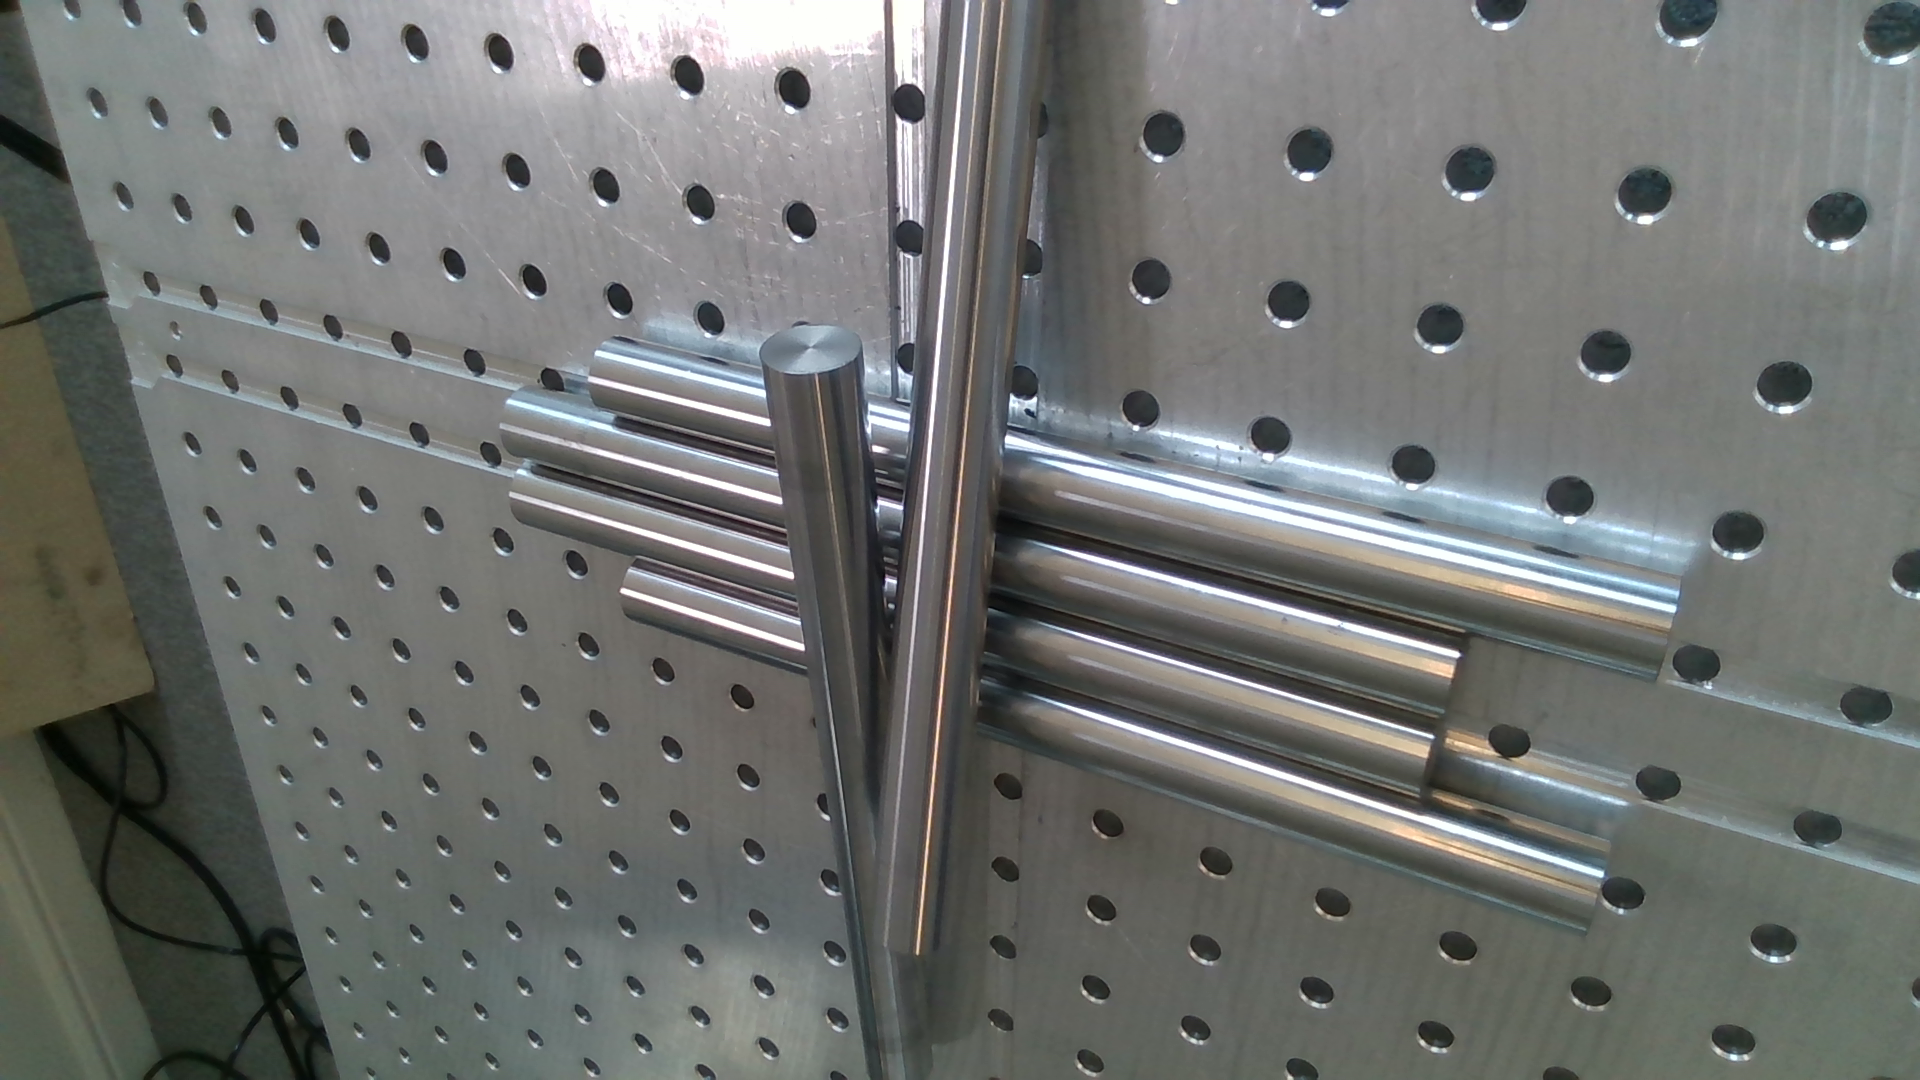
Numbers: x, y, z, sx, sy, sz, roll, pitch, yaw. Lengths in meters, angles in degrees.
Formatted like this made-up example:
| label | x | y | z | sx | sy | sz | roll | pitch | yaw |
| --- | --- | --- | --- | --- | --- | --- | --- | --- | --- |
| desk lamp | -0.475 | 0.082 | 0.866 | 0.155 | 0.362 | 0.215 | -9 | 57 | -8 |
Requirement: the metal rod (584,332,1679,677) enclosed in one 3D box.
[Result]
| label | x | y | z | sx | sy | sz | roll | pitch | yaw |
| --- | --- | --- | --- | --- | --- | --- | --- | --- | --- |
| metal rod | 0.024 | -0.017 | 0.367 | 0.300 | 0.025 | 0.025 | 15 | 122 | 24 |

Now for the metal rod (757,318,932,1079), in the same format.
| label | x | y | z | sx | sy | sz | roll | pitch | yaw |
| --- | --- | --- | --- | --- | --- | --- | --- | --- | --- |
| metal rod | -0.029 | 0.072 | 0.422 | 0.025 | 0.025 | 0.301 | 16 | 131 | 24 |

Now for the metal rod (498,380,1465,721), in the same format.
| label | x | y | z | sx | sy | sz | roll | pitch | yaw |
| --- | --- | --- | --- | --- | --- | --- | --- | --- | --- |
| metal rod | -0.012 | -0.005 | 0.395 | 0.300 | 0.025 | 0.025 | 15 | 122 | 24 |

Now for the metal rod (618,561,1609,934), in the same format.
| label | x | y | z | sx | sy | sz | roll | pitch | yaw |
| --- | --- | --- | --- | --- | --- | --- | --- | --- | --- |
| metal rod | 0.025 | 0.050 | 0.402 | 0.300 | 0.025 | 0.025 | 15 | 122 | 24 |

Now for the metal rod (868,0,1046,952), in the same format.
| label | x | y | z | sx | sy | sz | roll | pitch | yaw |
| --- | --- | --- | --- | --- | --- | --- | --- | --- | --- |
| metal rod | -0.002 | -0.028 | 0.347 | 0.025 | 0.025 | 0.301 | 15 | 113 | 24 |

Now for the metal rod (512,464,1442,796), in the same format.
| label | x | y | z | sx | sy | sz | roll | pitch | yaw |
| --- | --- | --- | --- | --- | --- | --- | --- | --- | --- |
| metal rod | -0.012 | 0.017 | 0.409 | 0.300 | 0.025 | 0.025 | 15 | 122 | 24 |
